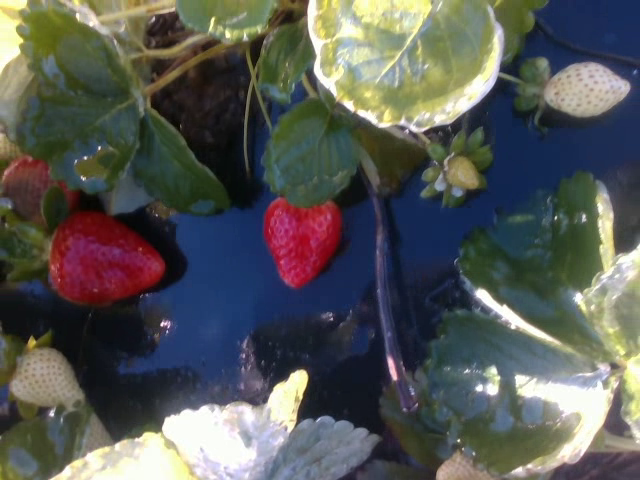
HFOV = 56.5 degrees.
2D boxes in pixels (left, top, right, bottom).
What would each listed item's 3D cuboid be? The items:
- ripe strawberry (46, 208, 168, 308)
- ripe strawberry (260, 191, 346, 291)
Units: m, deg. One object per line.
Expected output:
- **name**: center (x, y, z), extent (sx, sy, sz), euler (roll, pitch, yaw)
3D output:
- **ripe strawberry**: center (-0.098, 0.012, 0.270), extent (0.056, 0.044, 0.040), euler (13, 13, 0)
- **ripe strawberry**: center (-0.007, 0.001, 0.249), extent (0.039, 0.047, 0.040), euler (3, 2, 2)
